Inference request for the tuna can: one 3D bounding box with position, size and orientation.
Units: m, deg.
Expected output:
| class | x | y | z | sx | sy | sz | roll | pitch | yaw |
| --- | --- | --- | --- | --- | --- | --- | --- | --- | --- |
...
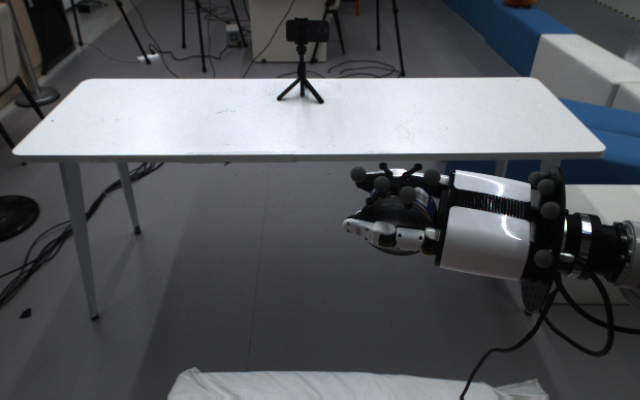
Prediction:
| class | x | y | z | sx | sy | sz | roll | pitch | yaw |
| --- | --- | --- | --- | --- | --- | --- | --- | --- | --- |
| tuna can | 0.092 | 0.020 | 0.554 | 0.085 | 0.085 | 0.034 | 12 | 39 | 13 |
